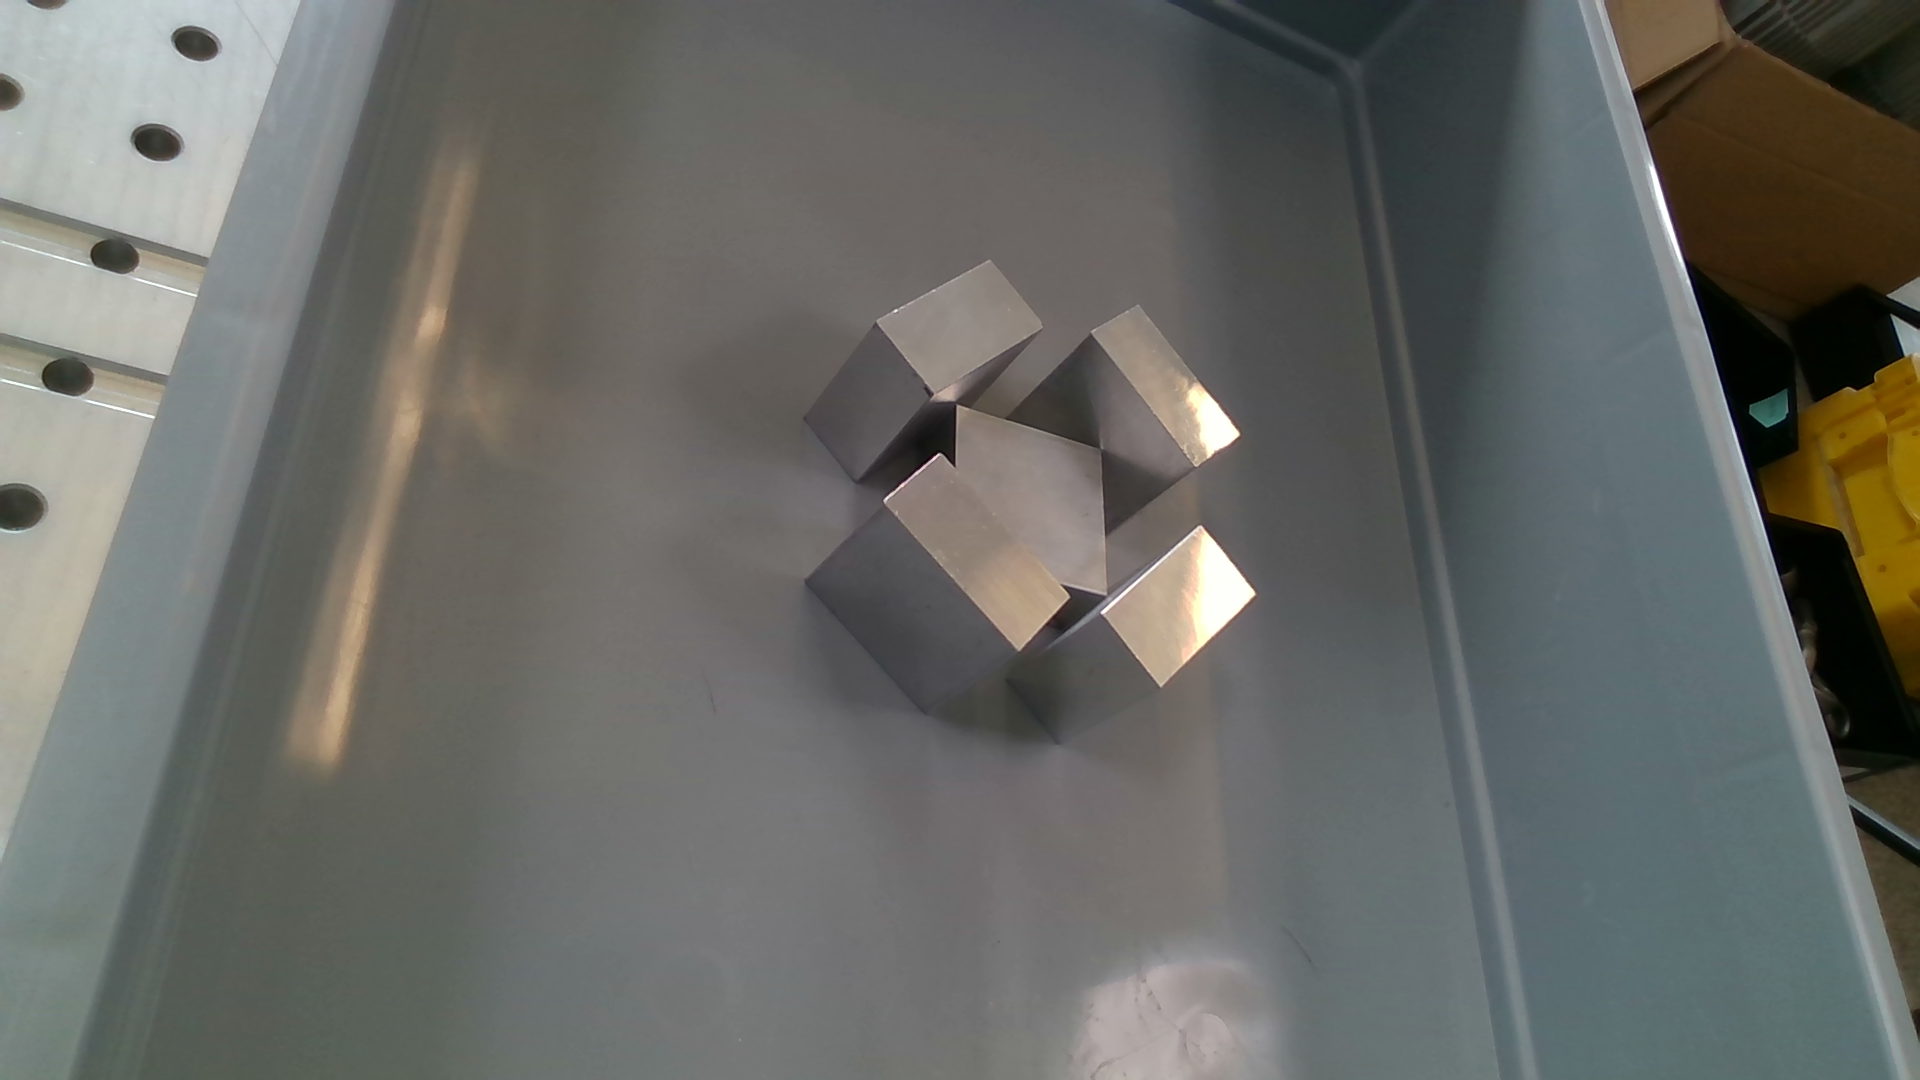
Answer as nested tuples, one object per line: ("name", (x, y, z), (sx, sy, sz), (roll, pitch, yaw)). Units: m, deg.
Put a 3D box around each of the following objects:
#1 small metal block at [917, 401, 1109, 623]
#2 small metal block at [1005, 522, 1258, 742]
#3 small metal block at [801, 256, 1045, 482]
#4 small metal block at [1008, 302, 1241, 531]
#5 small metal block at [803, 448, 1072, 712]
("small metal block", (0.015, -0.007, 0.404), (0.050, 0.025, 0.050), (15, 58, -25))
("small metal block", (0.048, 0.026, 0.390), (0.050, 0.050, 0.025), (-37, 88, -38))
("small metal block", (-0.011, -0.049, 0.395), (0.025, 0.050, 0.050), (51, 51, 3))
("small metal block", (0.049, -0.036, 0.424), (0.025, 0.050, 0.050), (-33, 84, -40))
("small metal block", (-0.007, 0.012, 0.364), (0.050, 0.050, 0.025), (48, 52, -2))
